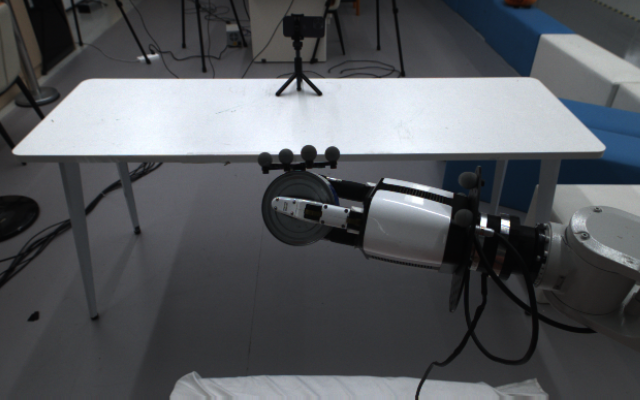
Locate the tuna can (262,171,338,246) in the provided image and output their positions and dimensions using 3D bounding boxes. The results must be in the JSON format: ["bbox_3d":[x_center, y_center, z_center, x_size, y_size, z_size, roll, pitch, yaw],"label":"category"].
[{"bbox_3d":[-0.018,0.013,0.553,0.085,0.085,0.034,10,3,11],"label":"tuna can"}]
